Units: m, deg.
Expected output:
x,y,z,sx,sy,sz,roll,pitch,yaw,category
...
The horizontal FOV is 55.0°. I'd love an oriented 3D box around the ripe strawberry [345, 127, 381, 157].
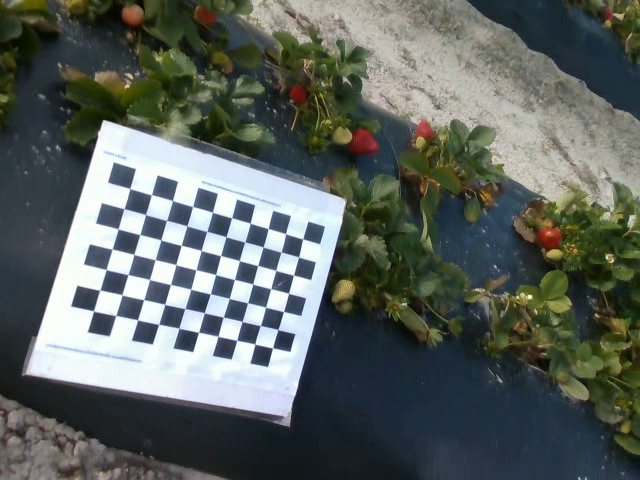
x,y,z,sx,sy,sz,roll,pitch,yaw,category
0.079,-0.169,1.060,0.055,0.051,0.048,34,-20,37,ripe strawberry
